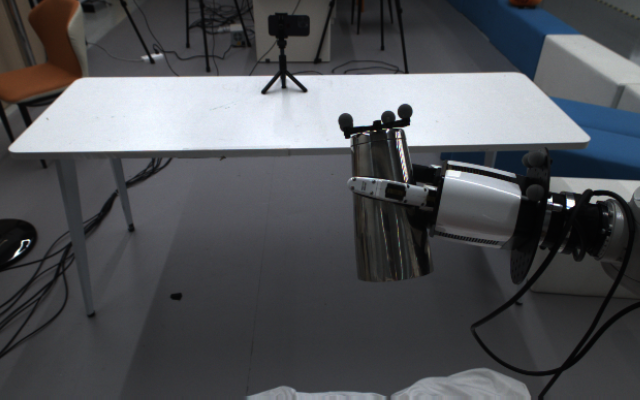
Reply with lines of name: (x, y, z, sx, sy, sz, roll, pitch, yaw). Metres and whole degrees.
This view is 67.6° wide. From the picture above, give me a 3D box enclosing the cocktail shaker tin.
cocktail shaker tin: (0.081, 0.005, 0.584, 0.093, 0.170, 0.093, -8, 1, 0)
